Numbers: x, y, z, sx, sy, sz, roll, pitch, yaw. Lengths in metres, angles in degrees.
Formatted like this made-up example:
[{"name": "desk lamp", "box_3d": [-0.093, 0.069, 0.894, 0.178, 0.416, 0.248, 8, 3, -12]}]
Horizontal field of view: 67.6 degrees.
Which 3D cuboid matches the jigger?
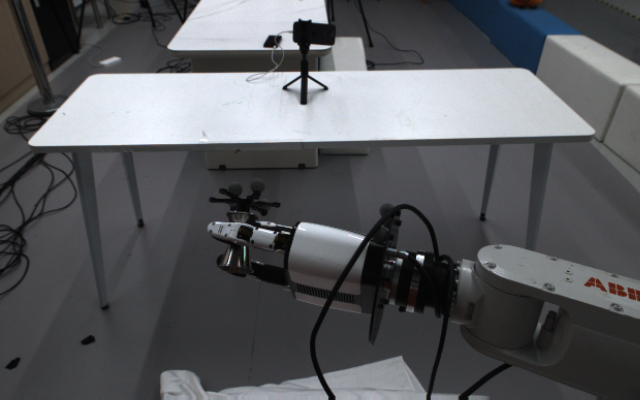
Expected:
[{"name": "jigger", "box_3d": [-0.100, 0.050, 0.587, 0.043, 0.043, 0.071, 5, 71, 4]}]
